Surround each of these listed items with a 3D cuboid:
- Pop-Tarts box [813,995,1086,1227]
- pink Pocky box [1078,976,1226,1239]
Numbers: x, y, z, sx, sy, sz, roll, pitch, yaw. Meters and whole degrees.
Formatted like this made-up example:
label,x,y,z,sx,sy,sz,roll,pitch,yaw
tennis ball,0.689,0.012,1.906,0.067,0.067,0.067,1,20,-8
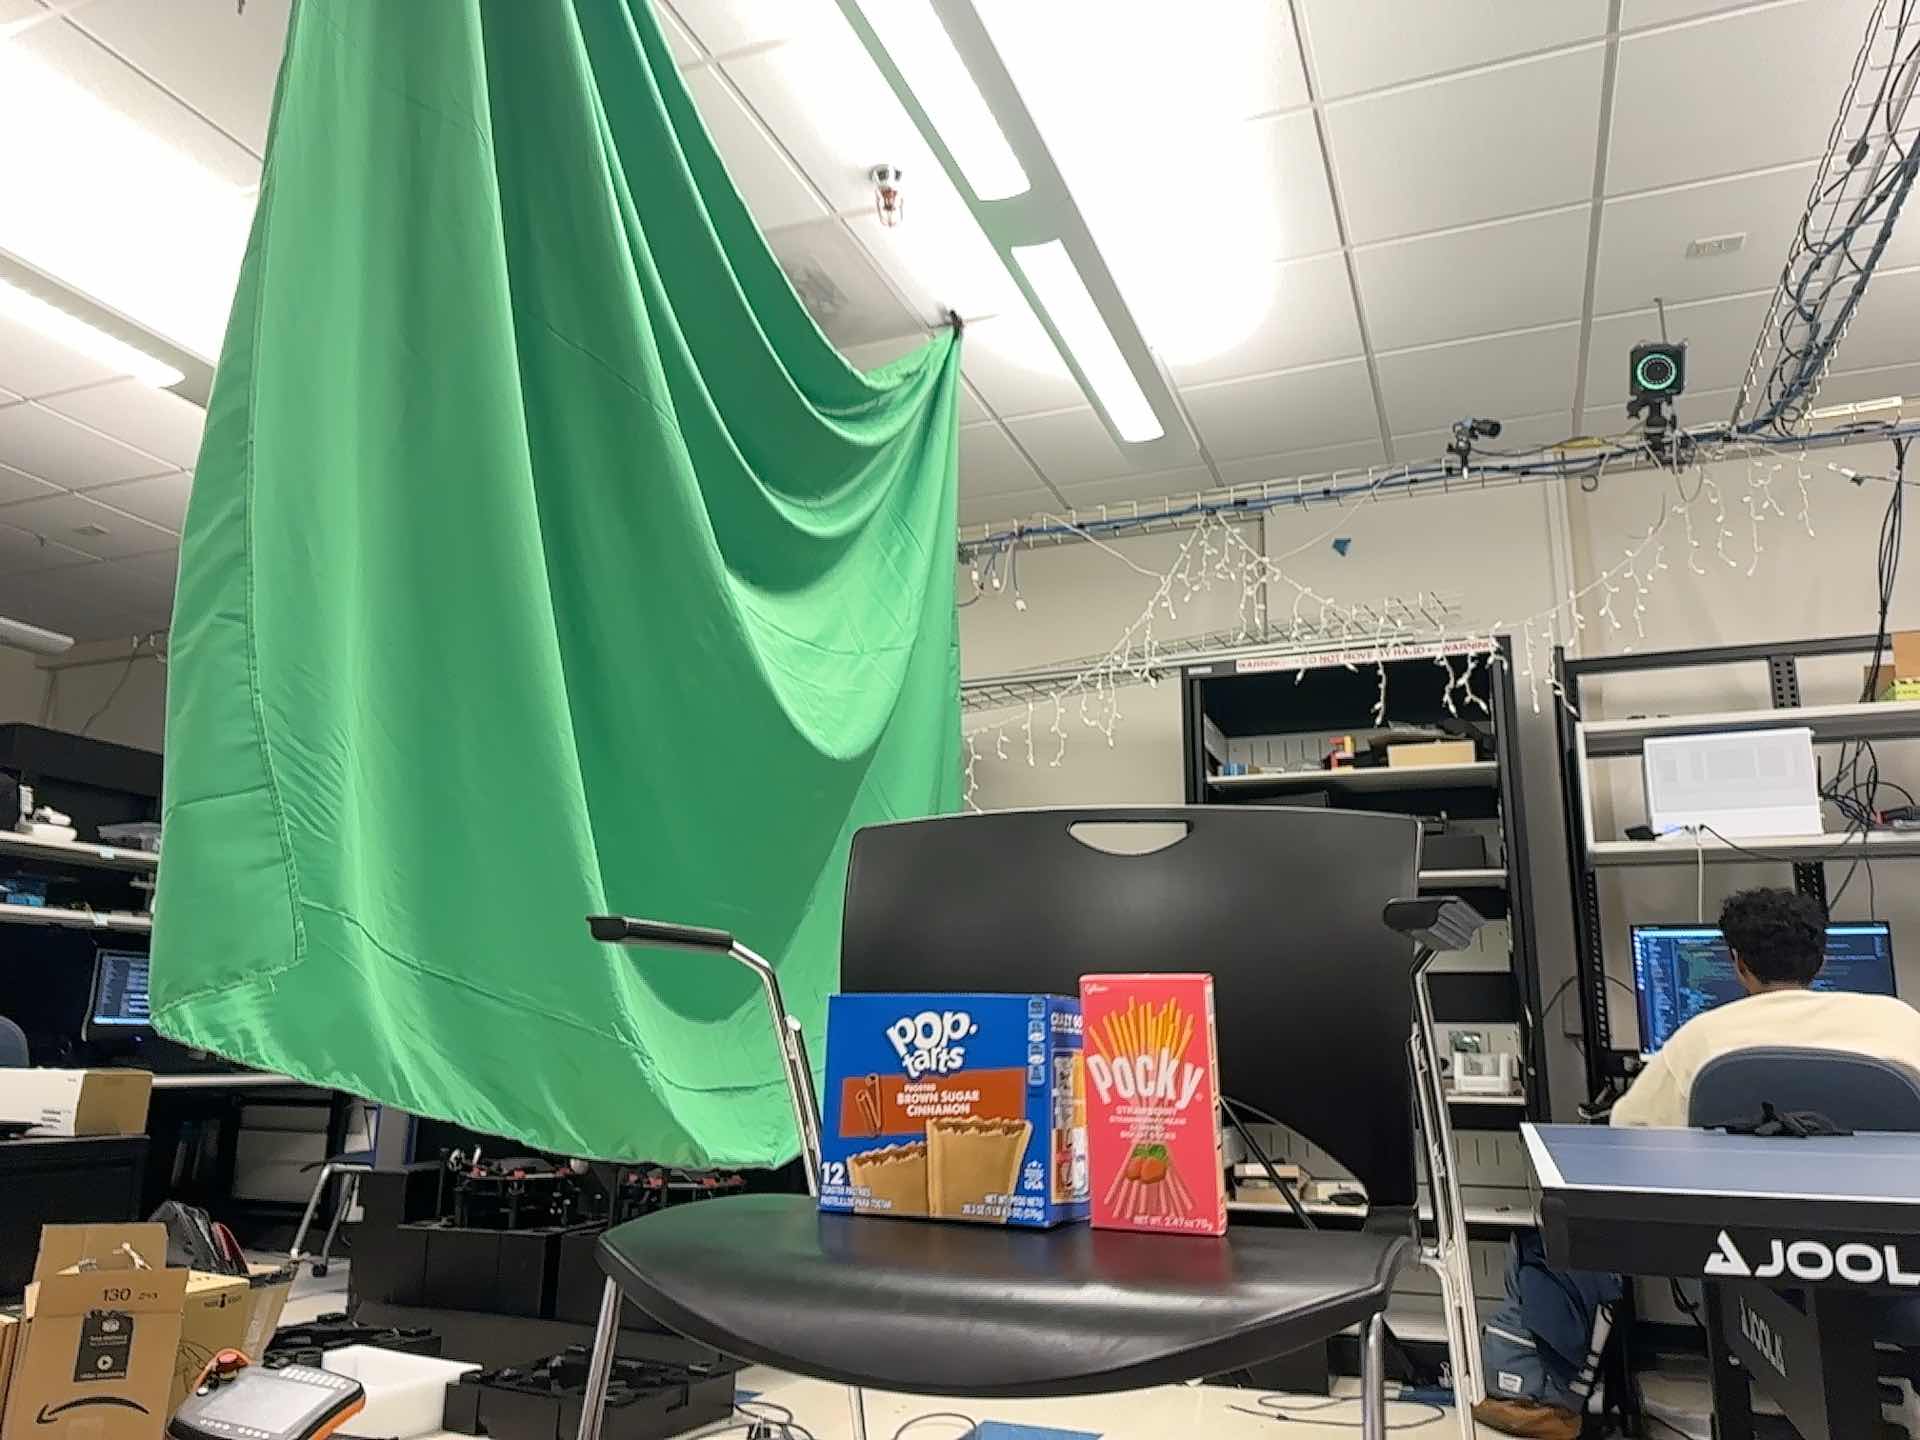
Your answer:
label,x,y,z,sx,sy,sz,roll,pitch,yaw
Pop-Tarts box,-0.005,0.258,0.908,0.161,0.135,0.075,-4,-14,21
pink Pocky box,0.118,0.238,0.837,0.084,0.155,0.029,-3,-8,17
